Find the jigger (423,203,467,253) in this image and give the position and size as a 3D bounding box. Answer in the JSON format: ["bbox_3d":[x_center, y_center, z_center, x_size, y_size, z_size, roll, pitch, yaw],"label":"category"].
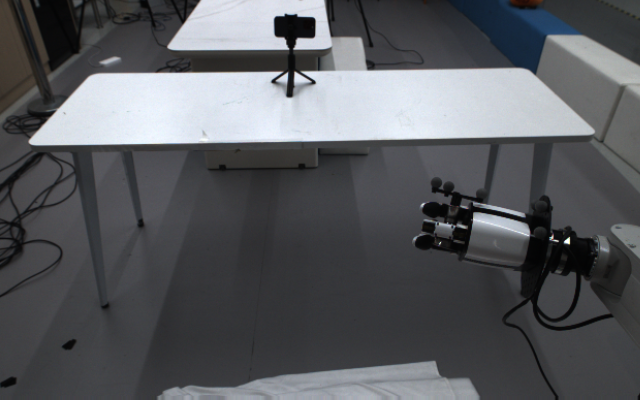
[{"bbox_3d":[0.208,0.041,0.768,0.043,0.071,0.043,14,1,0],"label":"jigger"}]
